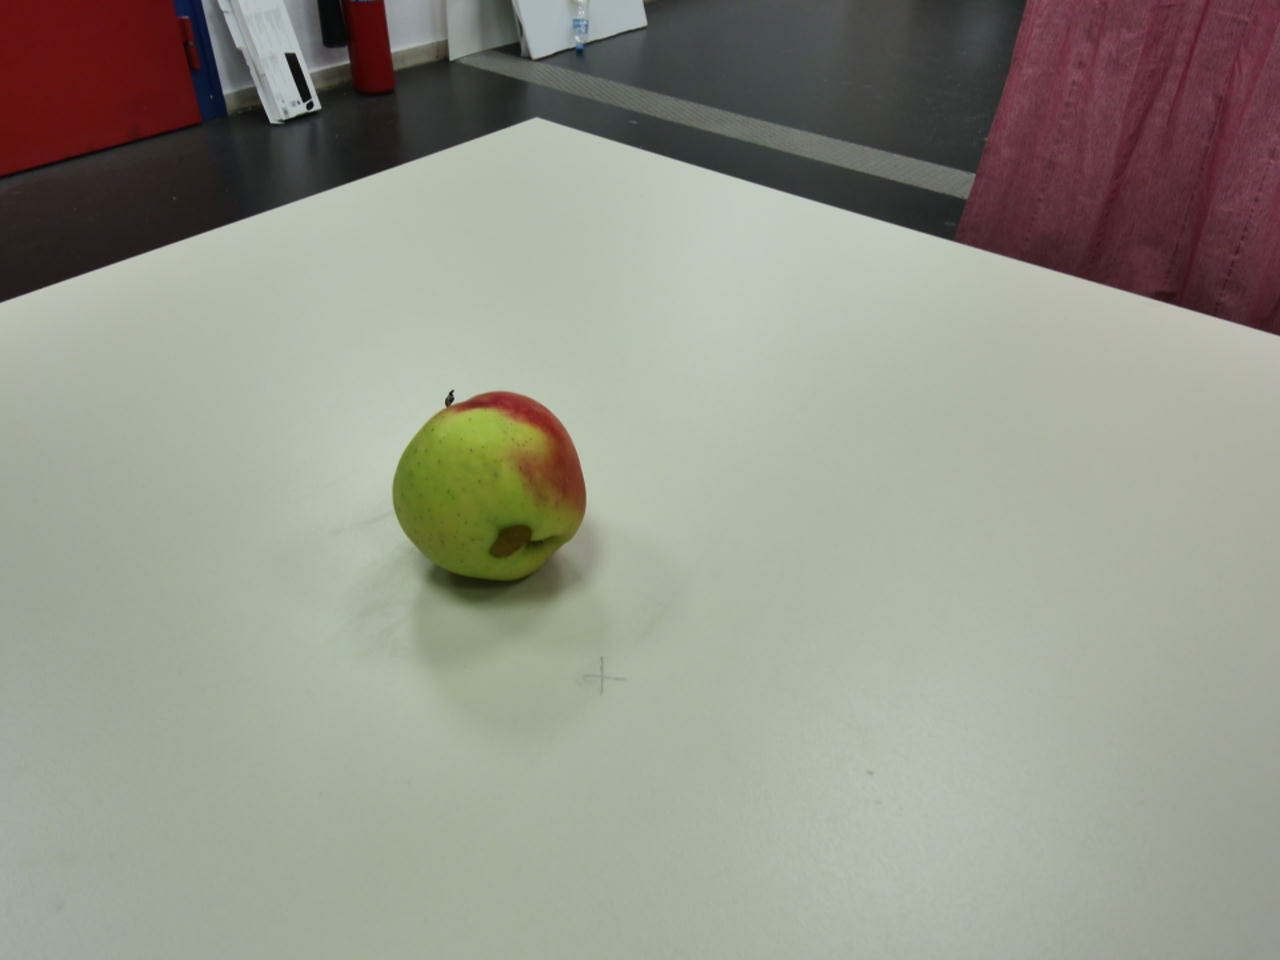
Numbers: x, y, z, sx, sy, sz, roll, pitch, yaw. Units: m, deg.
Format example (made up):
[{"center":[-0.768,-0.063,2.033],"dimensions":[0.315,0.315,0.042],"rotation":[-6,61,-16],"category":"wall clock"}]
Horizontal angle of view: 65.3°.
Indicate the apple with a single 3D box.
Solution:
[{"center":[-0.059,0.002,0.405],"dimensions":[0.075,0.074,0.075],"rotation":[12,37,15],"category":"apple"}]
